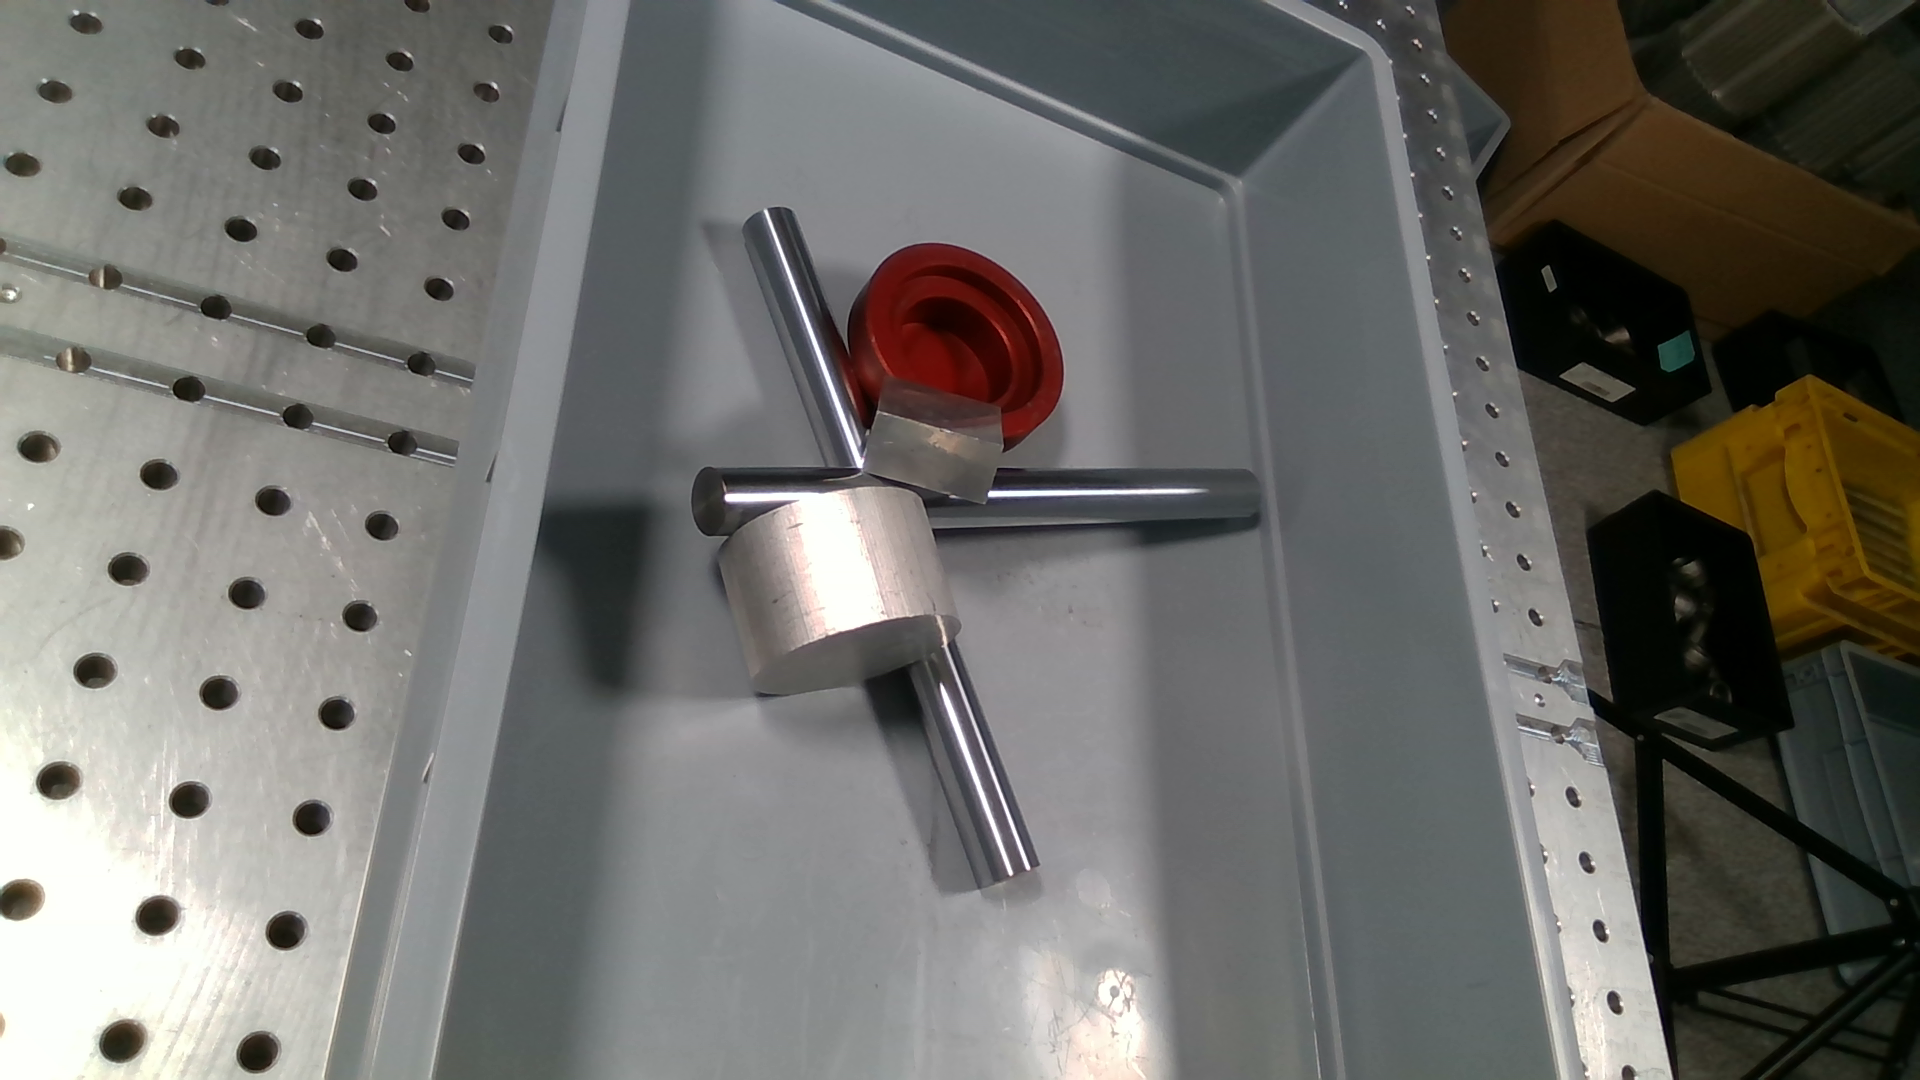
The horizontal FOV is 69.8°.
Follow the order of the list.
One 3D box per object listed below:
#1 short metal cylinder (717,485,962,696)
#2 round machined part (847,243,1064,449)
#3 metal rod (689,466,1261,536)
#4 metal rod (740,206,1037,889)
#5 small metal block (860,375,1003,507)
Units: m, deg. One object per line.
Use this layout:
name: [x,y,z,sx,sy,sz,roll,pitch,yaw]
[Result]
short metal cylinder: [-0.045,0.020,0.511,0.080,0.080,0.050,-6,68,-34]
round machined part: [-0.006,-0.080,0.614,0.098,0.042,0.098,14,59,-25]
metal rod: [0.024,-0.018,0.586,0.300,0.025,0.025,-2,66,-40]
metal rod: [-0.033,-0.005,0.567,0.025,0.025,0.299,-10,71,-35]
small metal block: [-0.011,-0.040,0.546,0.050,0.025,0.050,15,23,-6]
